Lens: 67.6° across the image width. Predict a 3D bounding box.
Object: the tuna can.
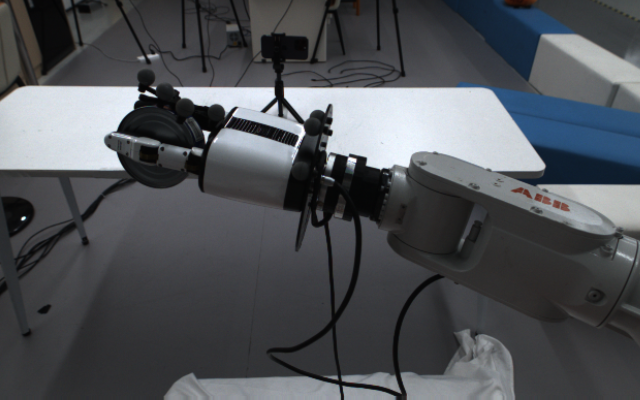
[{"bbox_3d":[-0.164,-0.058,0.508,0.085,0.085,0.034,7,17,6],"label":"tuna can"}]
